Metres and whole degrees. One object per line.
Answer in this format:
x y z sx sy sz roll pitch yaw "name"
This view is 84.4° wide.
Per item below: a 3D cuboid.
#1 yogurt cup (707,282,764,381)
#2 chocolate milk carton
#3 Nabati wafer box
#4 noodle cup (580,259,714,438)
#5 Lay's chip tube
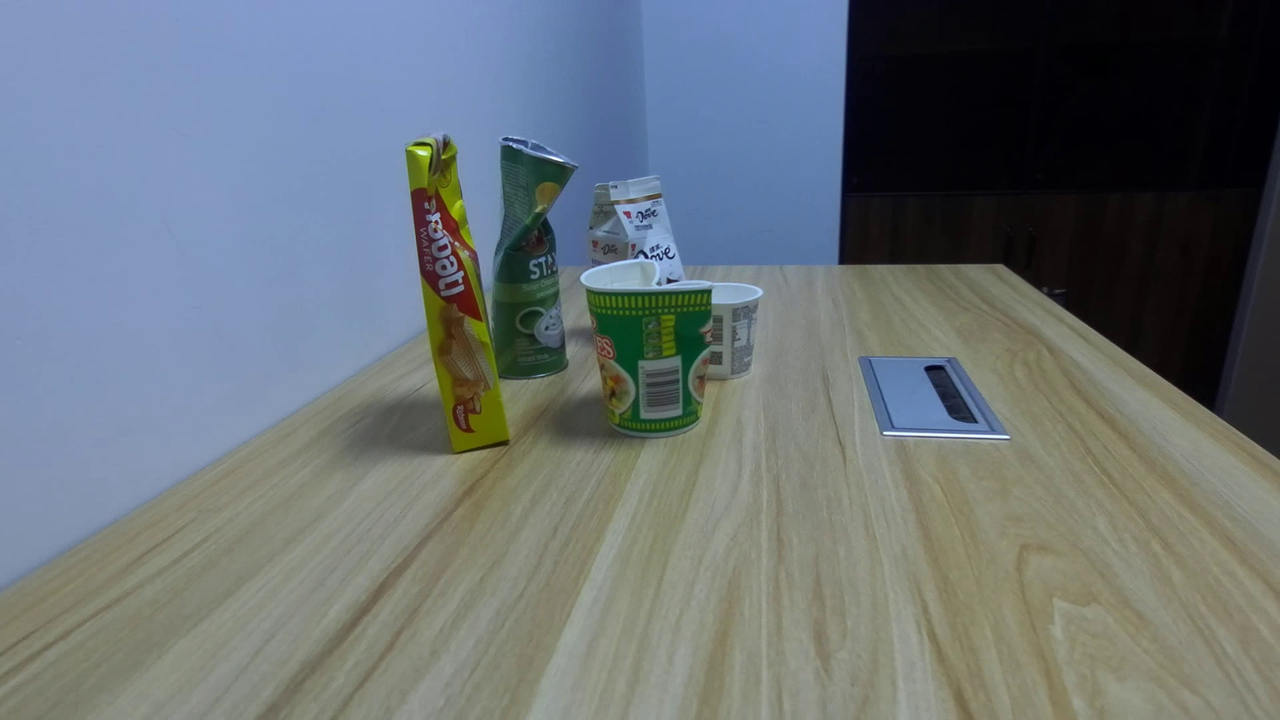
0.067 -0.024 0.595 0.072 0.068 0.072 -3 19 1 "yogurt cup"
0.002 -0.098 0.685 0.084 0.155 0.072 -14 22 -28 "chocolate milk carton"
-0.127 -0.047 0.486 0.043 0.205 0.113 -9 22 -15 "Nabati wafer box"
0.005 -0.008 0.498 0.087 0.109 0.093 -4 19 -3 "noodle cup"
-0.091 -0.085 0.607 0.071 0.199 0.079 3 21 -4 "Lay's chip tube"
